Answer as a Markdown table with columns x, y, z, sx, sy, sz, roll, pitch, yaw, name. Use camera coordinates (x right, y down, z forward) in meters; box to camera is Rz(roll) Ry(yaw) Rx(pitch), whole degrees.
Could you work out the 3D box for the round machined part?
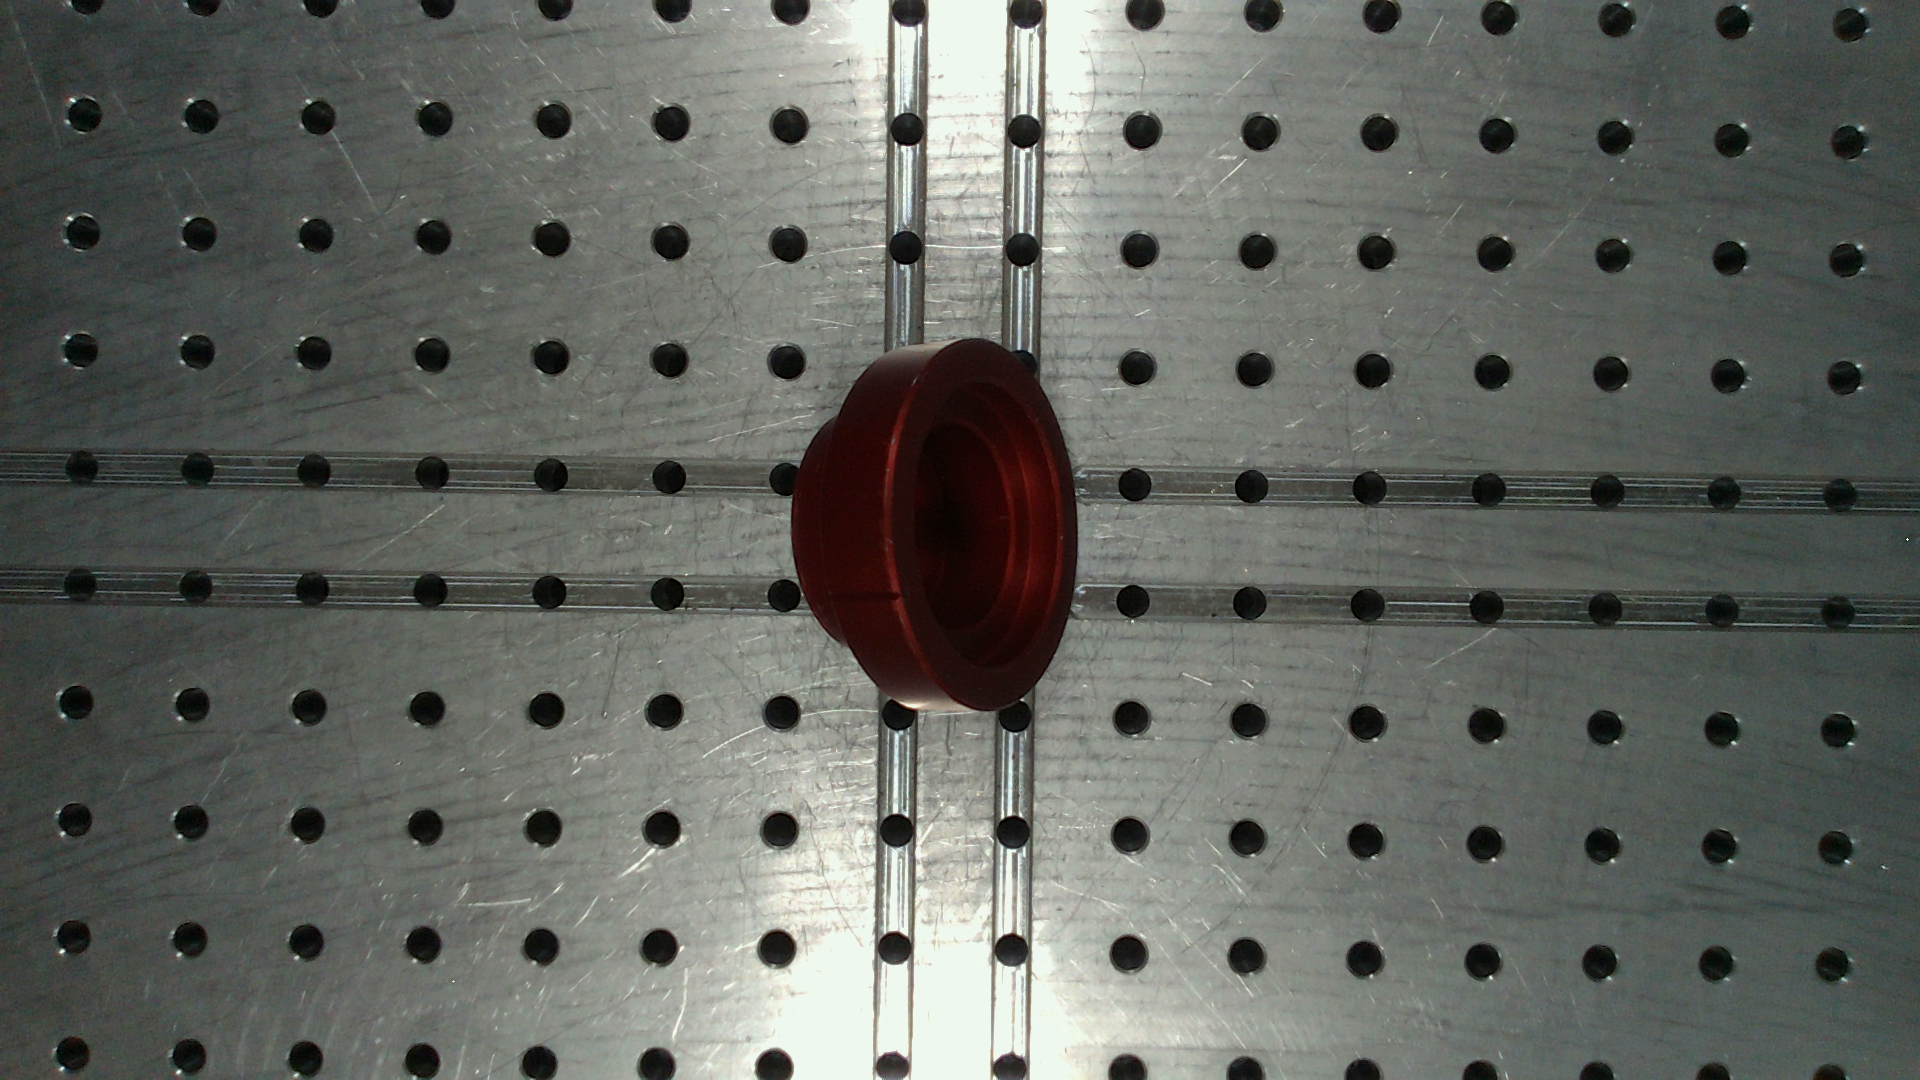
| x | y | z | sx | sy | sz | roll | pitch | yaw | name |
| --- | --- | --- | --- | --- | --- | --- | --- | --- | --- |
| -0.009 | -0.004 | 0.370 | 0.042 | 0.098 | 0.098 | -3 | 90 | 32 | round machined part |
